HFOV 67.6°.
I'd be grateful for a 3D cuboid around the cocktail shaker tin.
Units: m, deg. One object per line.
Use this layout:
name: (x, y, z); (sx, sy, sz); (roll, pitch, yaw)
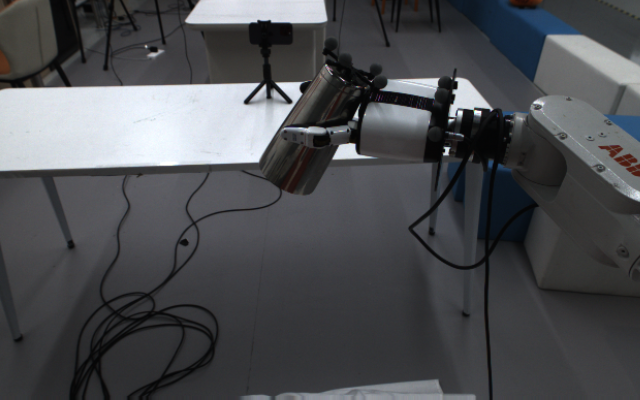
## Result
cocktail shaker tin: (-0.006, -0.103, 0.662); (0.093, 0.170, 0.093); (26, 31, -17)
